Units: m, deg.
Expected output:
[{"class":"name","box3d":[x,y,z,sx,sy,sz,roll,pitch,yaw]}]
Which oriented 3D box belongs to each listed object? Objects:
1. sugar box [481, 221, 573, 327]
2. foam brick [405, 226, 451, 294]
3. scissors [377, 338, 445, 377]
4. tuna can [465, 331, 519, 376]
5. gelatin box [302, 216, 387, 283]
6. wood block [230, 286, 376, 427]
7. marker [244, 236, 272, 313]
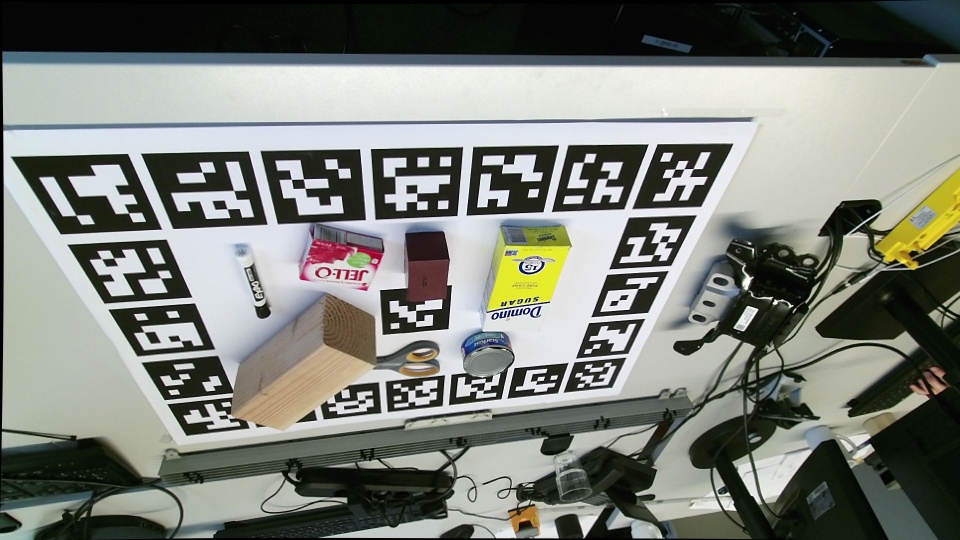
[{"class":"sugar box","box3d":[0.062,0.010,0.772,0.093,0.045,0.176,0,132,-15]},{"class":"foam brick","box3d":[-0.070,-0.014,0.702,0.053,0.051,0.078,-2,132,-14]},{"class":"scissors","box3d":[-0.154,0.144,0.858,0.204,0.016,0.088,1,132,-19]},{"class":"tuna can","box3d":[0.019,0.135,0.881,0.086,0.033,0.086,-8,133,-8]},{"class":"gelatin box","box3d":[-0.173,-0.024,0.684,0.090,0.030,0.073,11,128,-25]},{"class":"wood block","box3d":[-0.255,0.127,0.767,0.206,0.090,0.090,-37,132,20]},{"class":"marker","box3d":[-0.285,0.010,0.690,0.020,0.019,0.121,-3,131,-13]}]
